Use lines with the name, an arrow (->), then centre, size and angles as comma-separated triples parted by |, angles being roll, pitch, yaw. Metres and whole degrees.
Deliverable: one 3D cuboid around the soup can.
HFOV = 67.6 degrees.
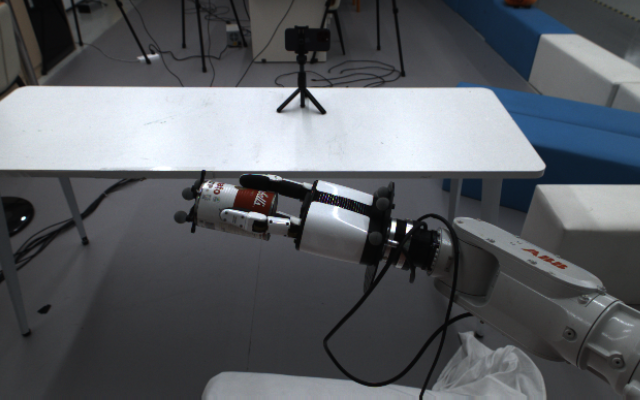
soup can -> -0.113, 0.015, 0.673 | 0.101, 0.067, 0.067 | 11, 35, 0
